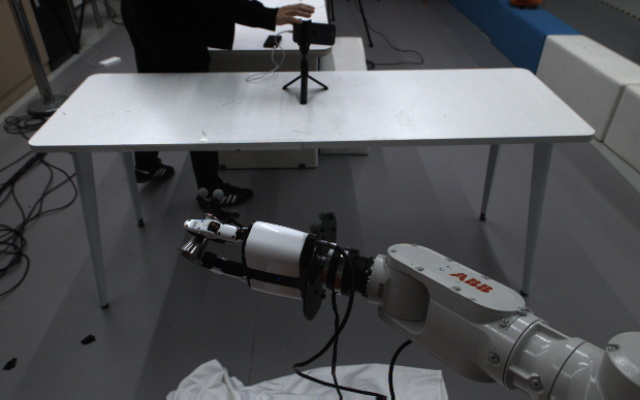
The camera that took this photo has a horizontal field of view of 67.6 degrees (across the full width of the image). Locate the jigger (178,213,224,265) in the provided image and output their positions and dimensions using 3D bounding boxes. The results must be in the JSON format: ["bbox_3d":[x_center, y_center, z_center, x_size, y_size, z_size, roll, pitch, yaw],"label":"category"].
[{"bbox_3d":[-0.182,0.057,0.738,0.043,0.043,0.071,19,62,23],"label":"jigger"}]
